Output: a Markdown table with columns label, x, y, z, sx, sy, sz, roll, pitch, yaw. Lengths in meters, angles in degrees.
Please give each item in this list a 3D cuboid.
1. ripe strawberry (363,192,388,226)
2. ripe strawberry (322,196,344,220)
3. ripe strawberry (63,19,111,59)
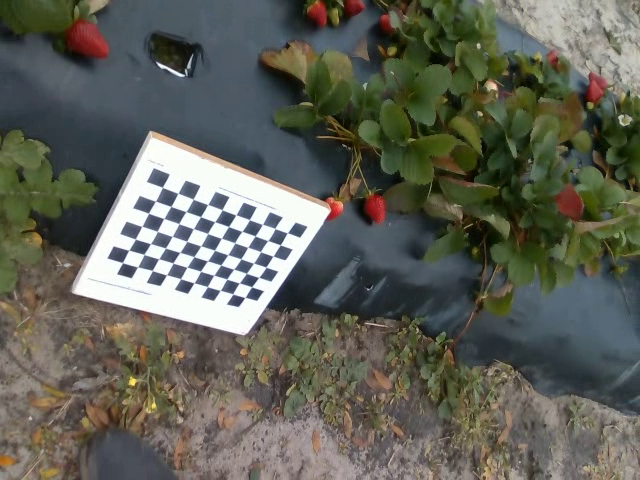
| label | x | y | z | sx | sy | sz | roll | pitch | yaw |
| --- | --- | --- | --- | --- | --- | --- | --- | --- | --- |
| ripe strawberry | 0.092 | -0.052 | 0.967 | 0.044 | 0.059 | 0.042 | -15 | 16 | 5 |
| ripe strawberry | 0.020 | -0.047 | 0.930 | 0.036 | 0.041 | 0.027 | 24 | 6 | -21 |
| ripe strawberry | -0.293 | -0.252 | 0.743 | 0.064 | 0.046 | 0.049 | 42 | 25 | -3 |
